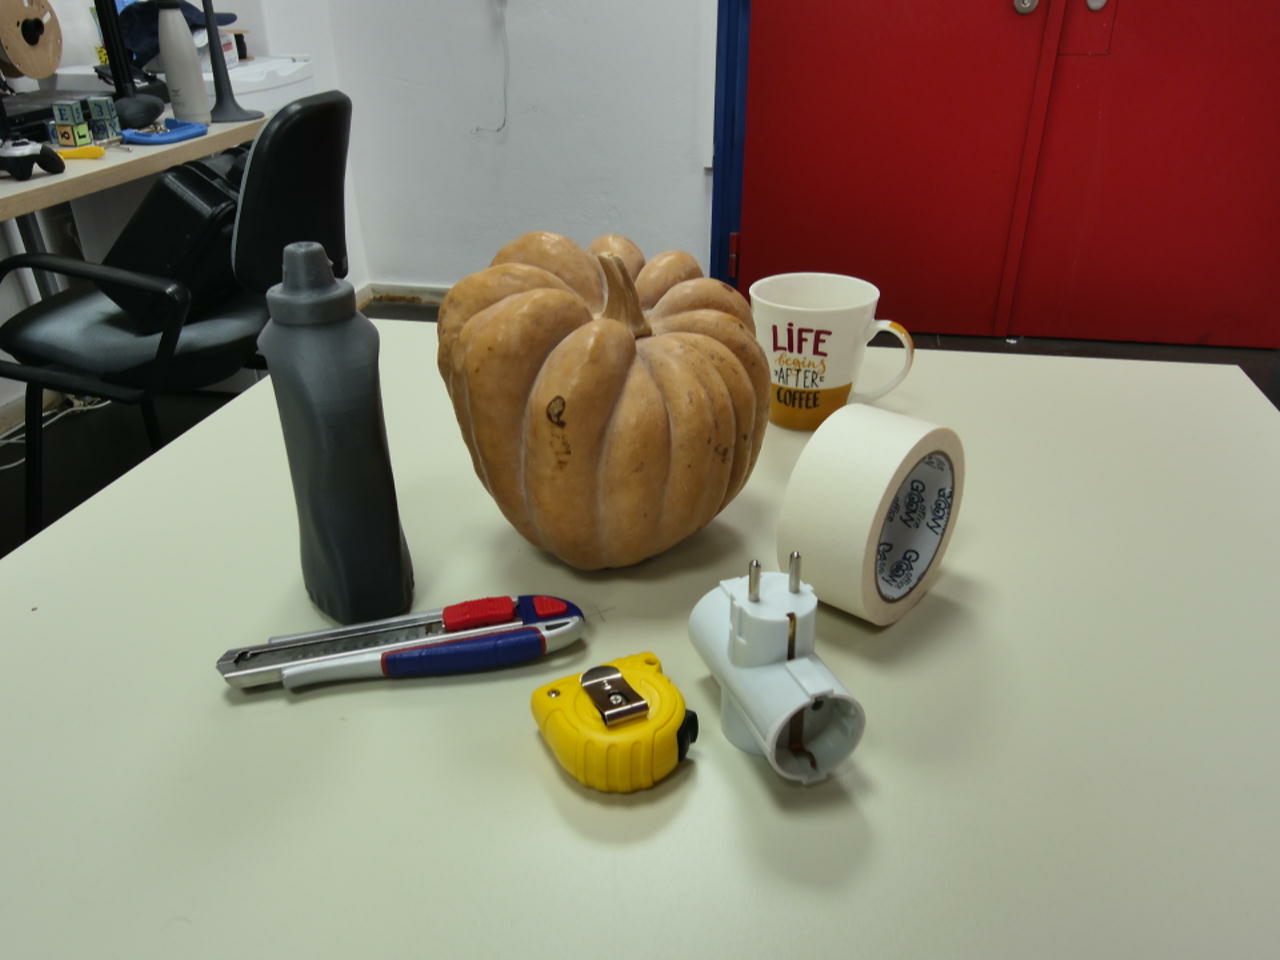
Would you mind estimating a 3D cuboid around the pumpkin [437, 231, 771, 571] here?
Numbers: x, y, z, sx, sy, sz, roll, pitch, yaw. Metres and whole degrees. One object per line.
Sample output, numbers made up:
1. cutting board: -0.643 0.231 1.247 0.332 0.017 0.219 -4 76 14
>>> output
1. pumpkin: -0.020 -0.047 0.575 0.199 0.177 0.198 0 26 0
